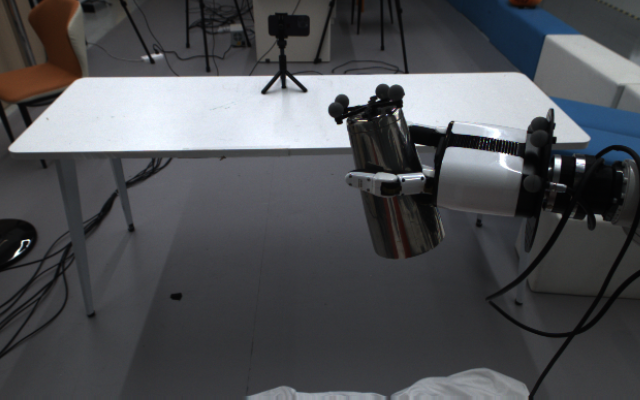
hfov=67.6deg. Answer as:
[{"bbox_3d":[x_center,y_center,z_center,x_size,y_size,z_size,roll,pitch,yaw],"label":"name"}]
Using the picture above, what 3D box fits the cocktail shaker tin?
[{"bbox_3d":[0.088,-0.025,0.586,0.093,0.170,0.093,-17,21,7],"label":"cocktail shaker tin"}]
